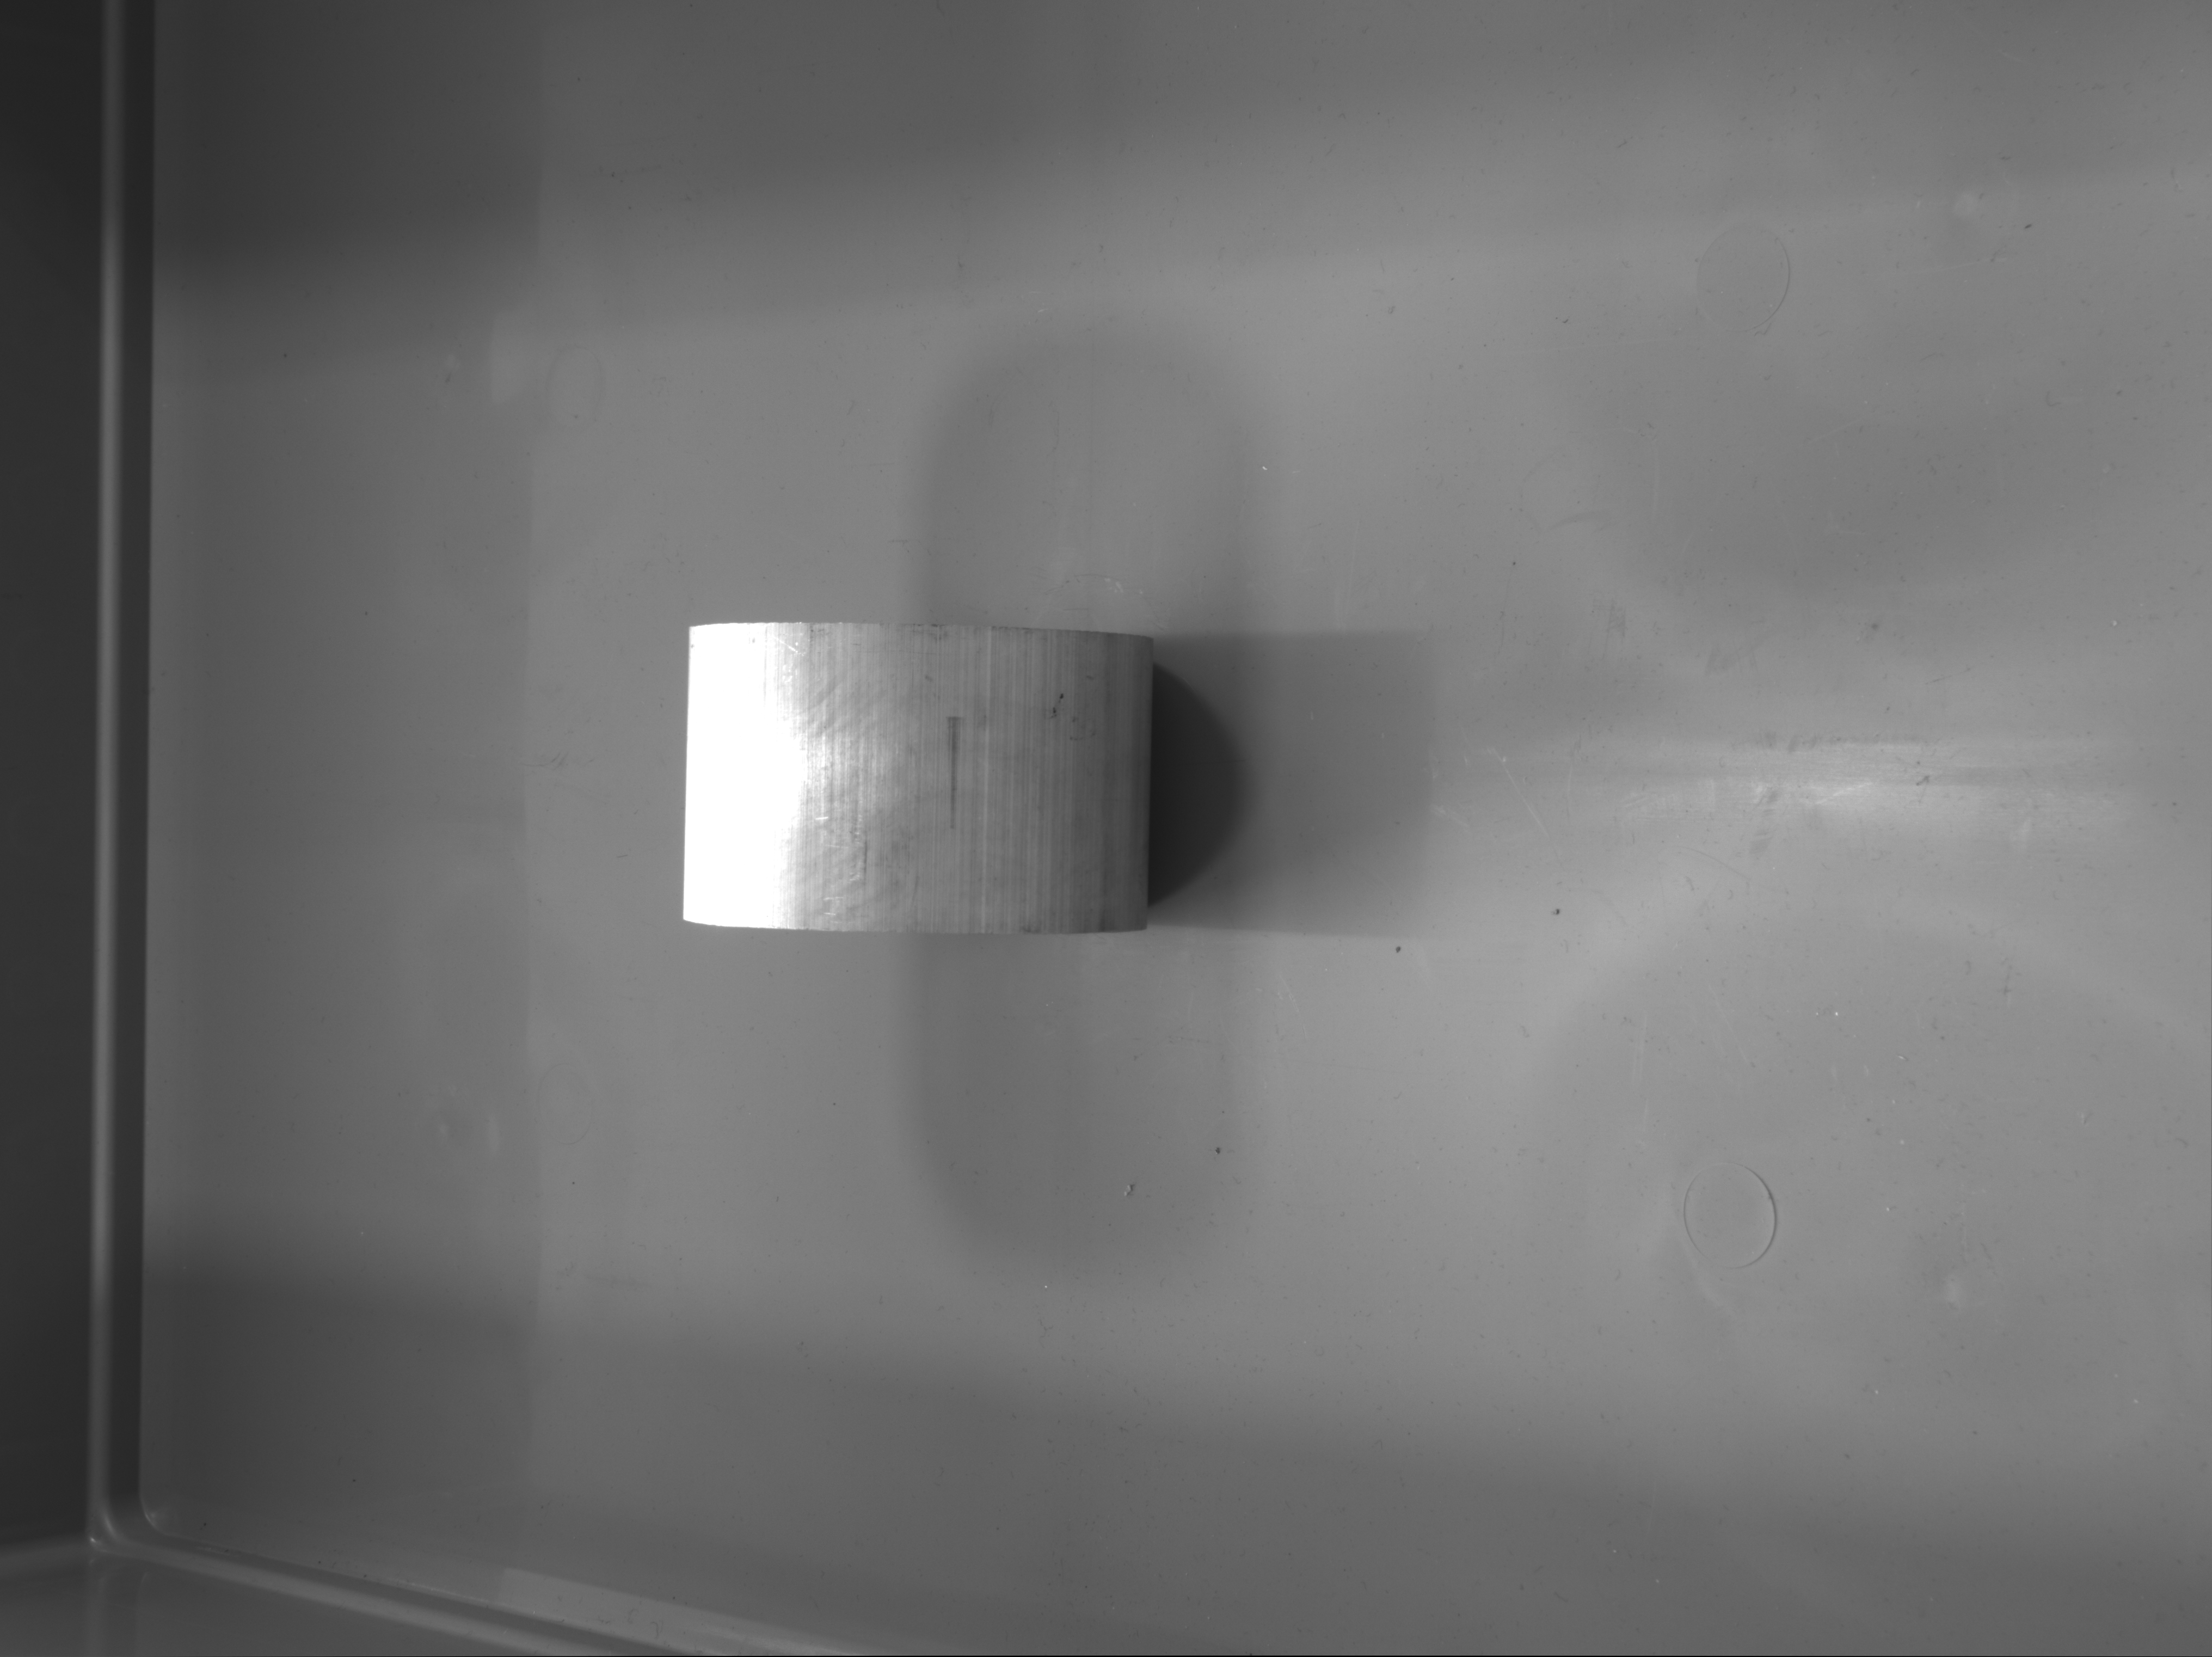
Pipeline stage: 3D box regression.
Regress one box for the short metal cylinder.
[{"bbox_3d":[-0.033,-0.008,0.634,0.080,0.080,0.050,2,91,40],"label":"short metal cylinder"}]
